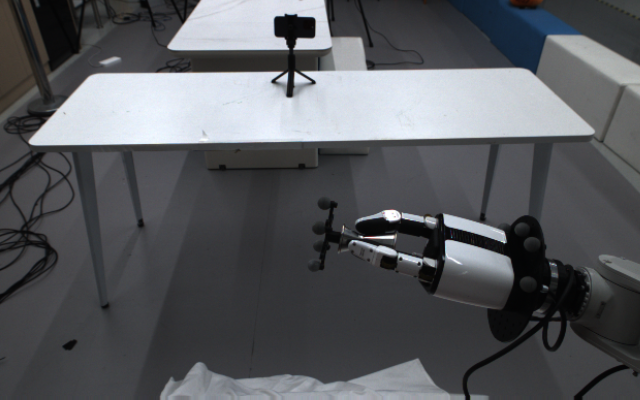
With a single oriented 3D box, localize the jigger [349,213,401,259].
[{"bbox_3d":[0.066,0.052,0.613,0.071,0.043,0.043,10,35,3],"label":"jigger"}]
